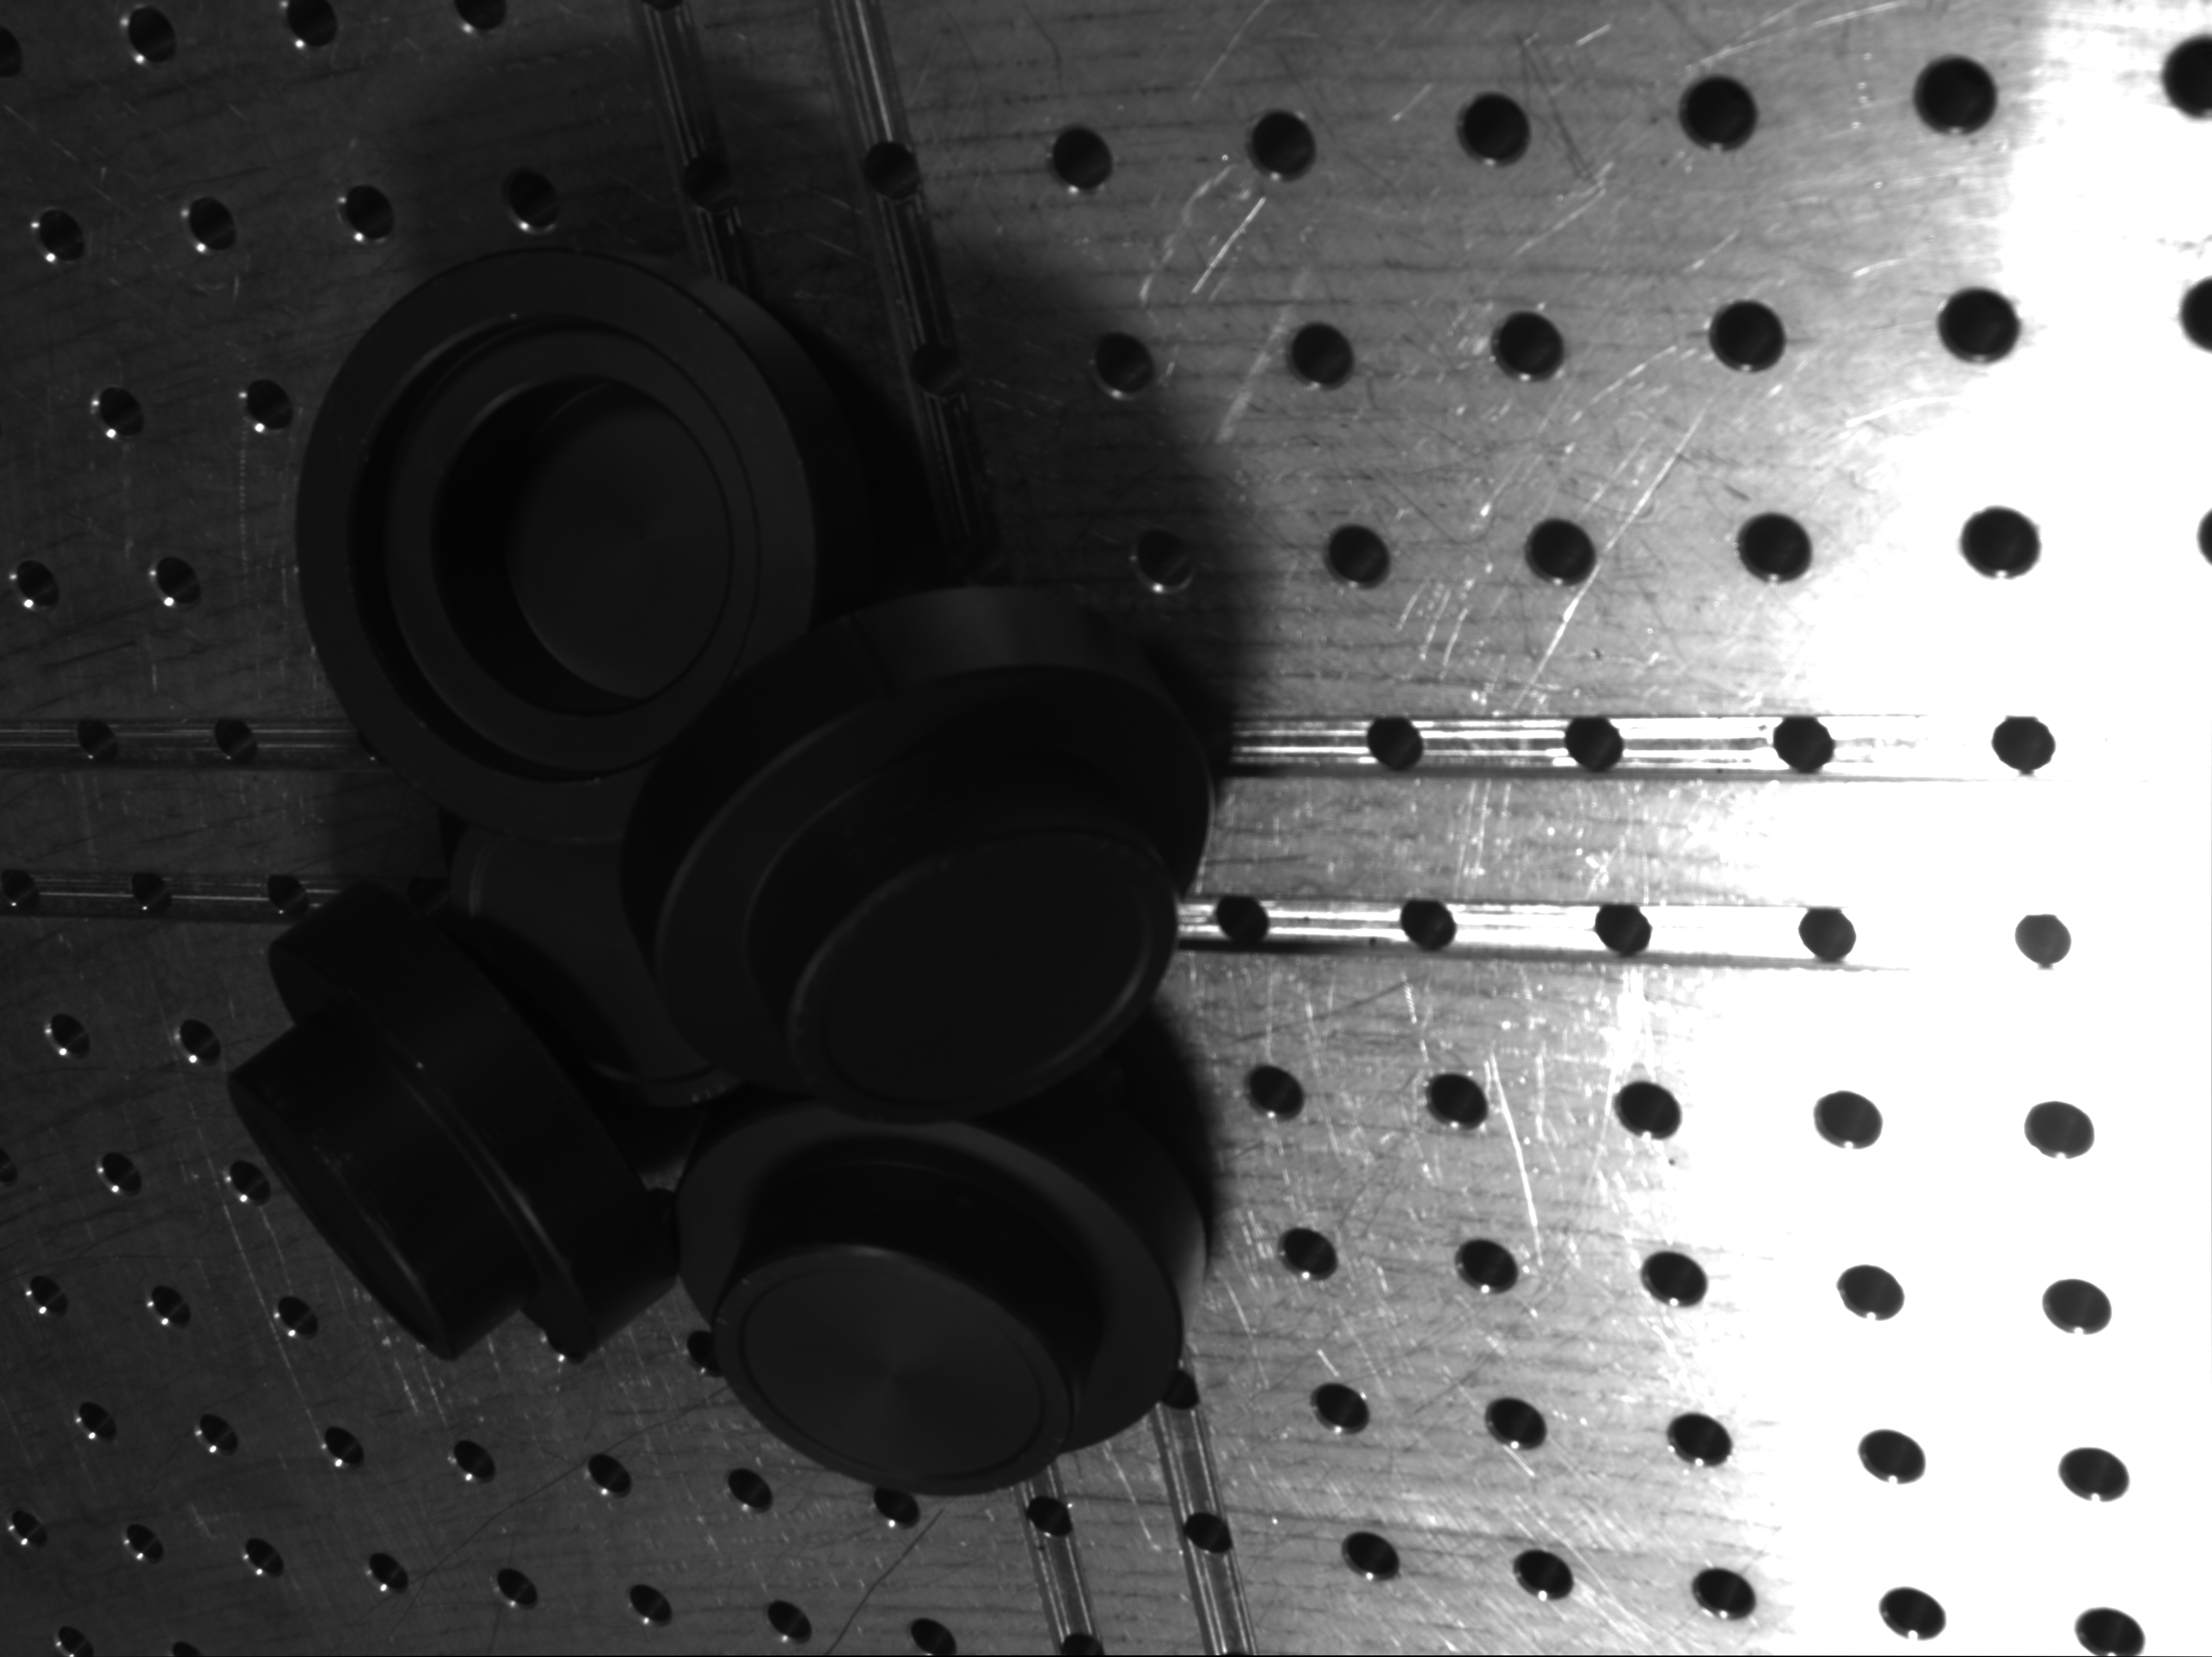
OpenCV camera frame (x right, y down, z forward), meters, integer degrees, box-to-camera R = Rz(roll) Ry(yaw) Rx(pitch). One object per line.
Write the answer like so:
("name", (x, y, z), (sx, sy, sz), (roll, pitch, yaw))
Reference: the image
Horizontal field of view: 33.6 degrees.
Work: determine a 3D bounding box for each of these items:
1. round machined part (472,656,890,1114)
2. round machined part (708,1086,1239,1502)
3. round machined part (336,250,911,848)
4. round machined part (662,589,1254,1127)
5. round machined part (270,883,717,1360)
("round machined part", (-0.074, 0.012, 0.666), (0.098, 0.042, 0.098), (12, 123, 20))
("round machined part", (-0.027, 0.086, 0.673), (0.098, 0.042, 0.098), (10, 132, 11))
("round machined part", (-0.077, -0.048, 0.619), (0.098, 0.042, 0.098), (3, 98, 21))
("round machined part", (-0.020, 0.011, 0.603), (0.042, 0.098, 0.098), (60, 140, 39))
("round machined part", (-0.120, 0.062, 0.690), (0.098, 0.042, 0.098), (42, 158, 22))
